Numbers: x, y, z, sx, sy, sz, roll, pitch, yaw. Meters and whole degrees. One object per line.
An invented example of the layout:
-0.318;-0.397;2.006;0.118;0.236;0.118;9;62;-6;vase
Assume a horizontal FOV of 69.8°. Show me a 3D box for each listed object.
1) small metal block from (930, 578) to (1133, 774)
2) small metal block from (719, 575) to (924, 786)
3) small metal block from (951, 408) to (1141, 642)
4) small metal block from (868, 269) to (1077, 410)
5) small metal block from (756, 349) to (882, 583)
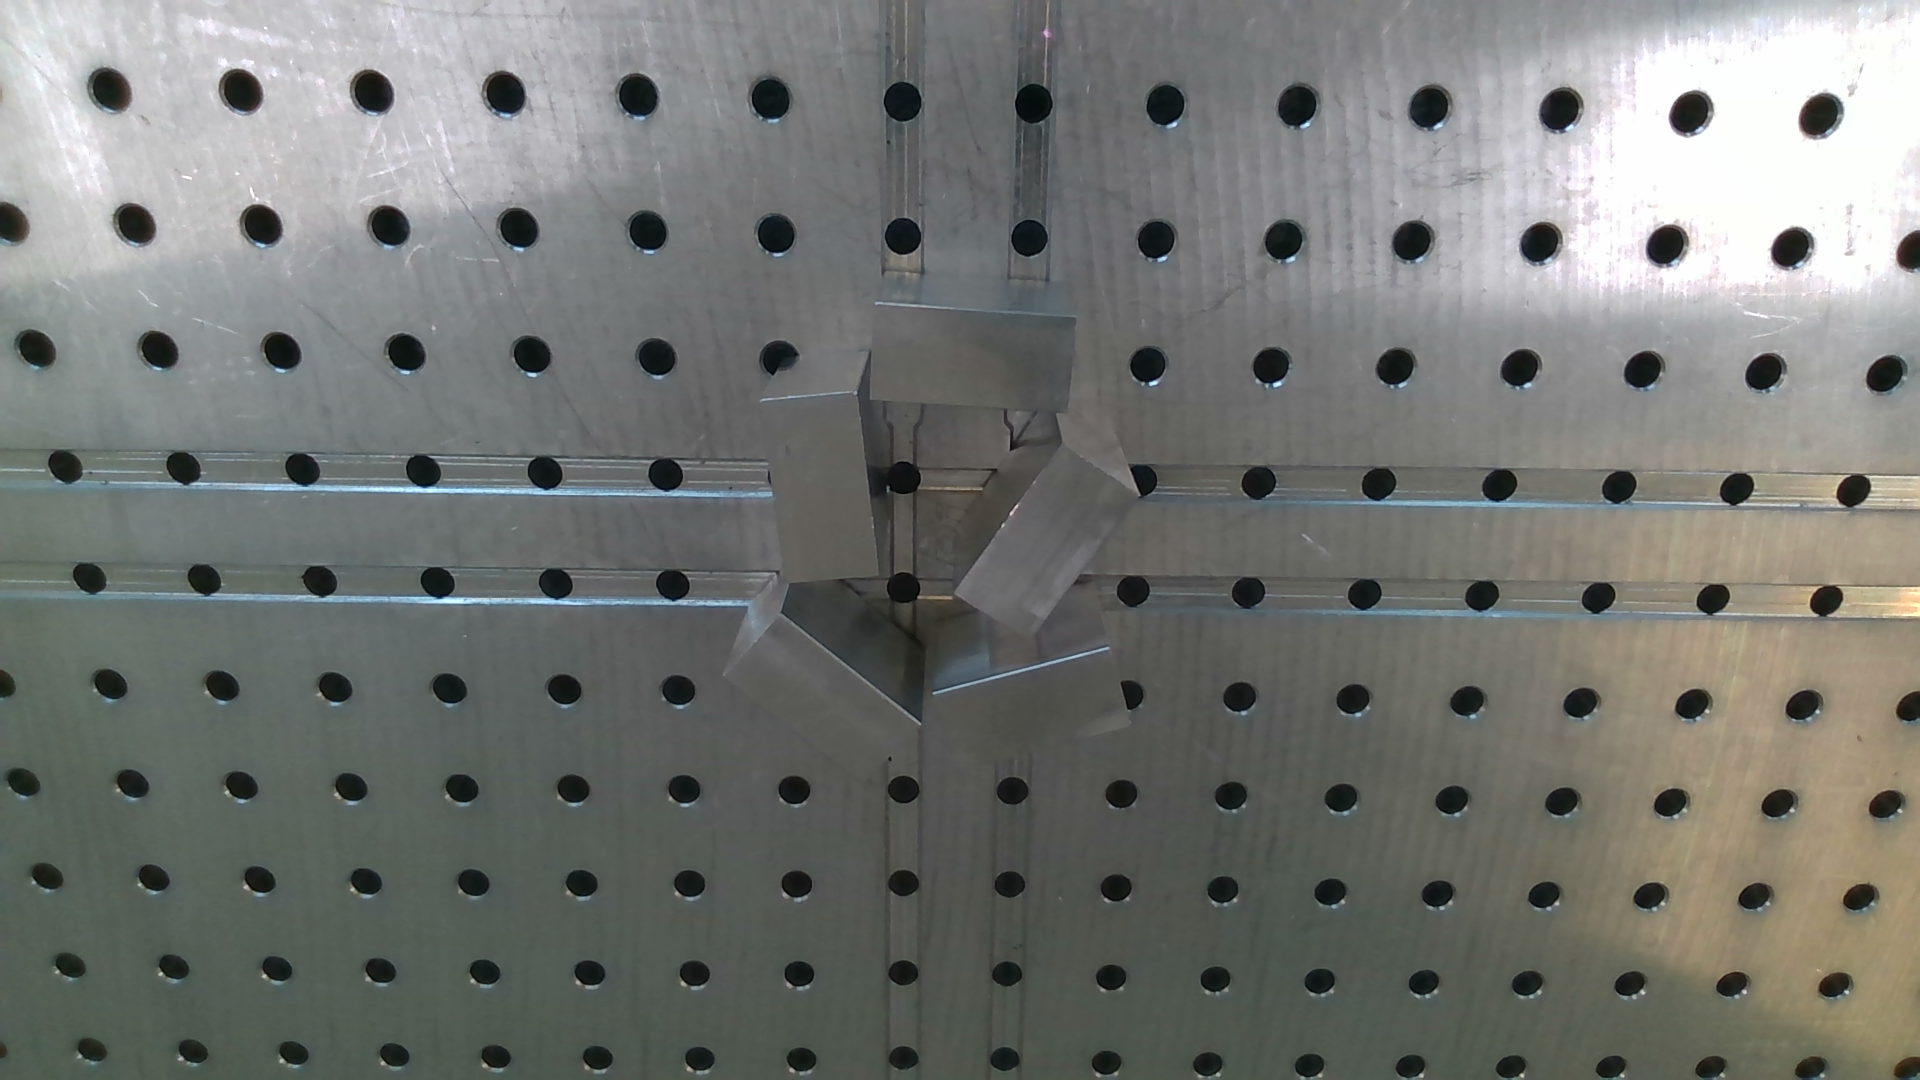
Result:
0.019;0.038;0.396;0.050;0.050;0.025;-16;109;5;small metal block
-0.038;0.035;0.395;0.050;0.050;0.025;40;104;-13;small metal block
0.022;-0.007;0.379;0.025;0.050;0.050;32;107;-10;small metal block
0.003;-0.054;0.362;0.050;0.050;0.025;3;110;-1;small metal block
-0.036;-0.022;0.374;0.025;0.050;0.050;-5;110;2;small metal block
